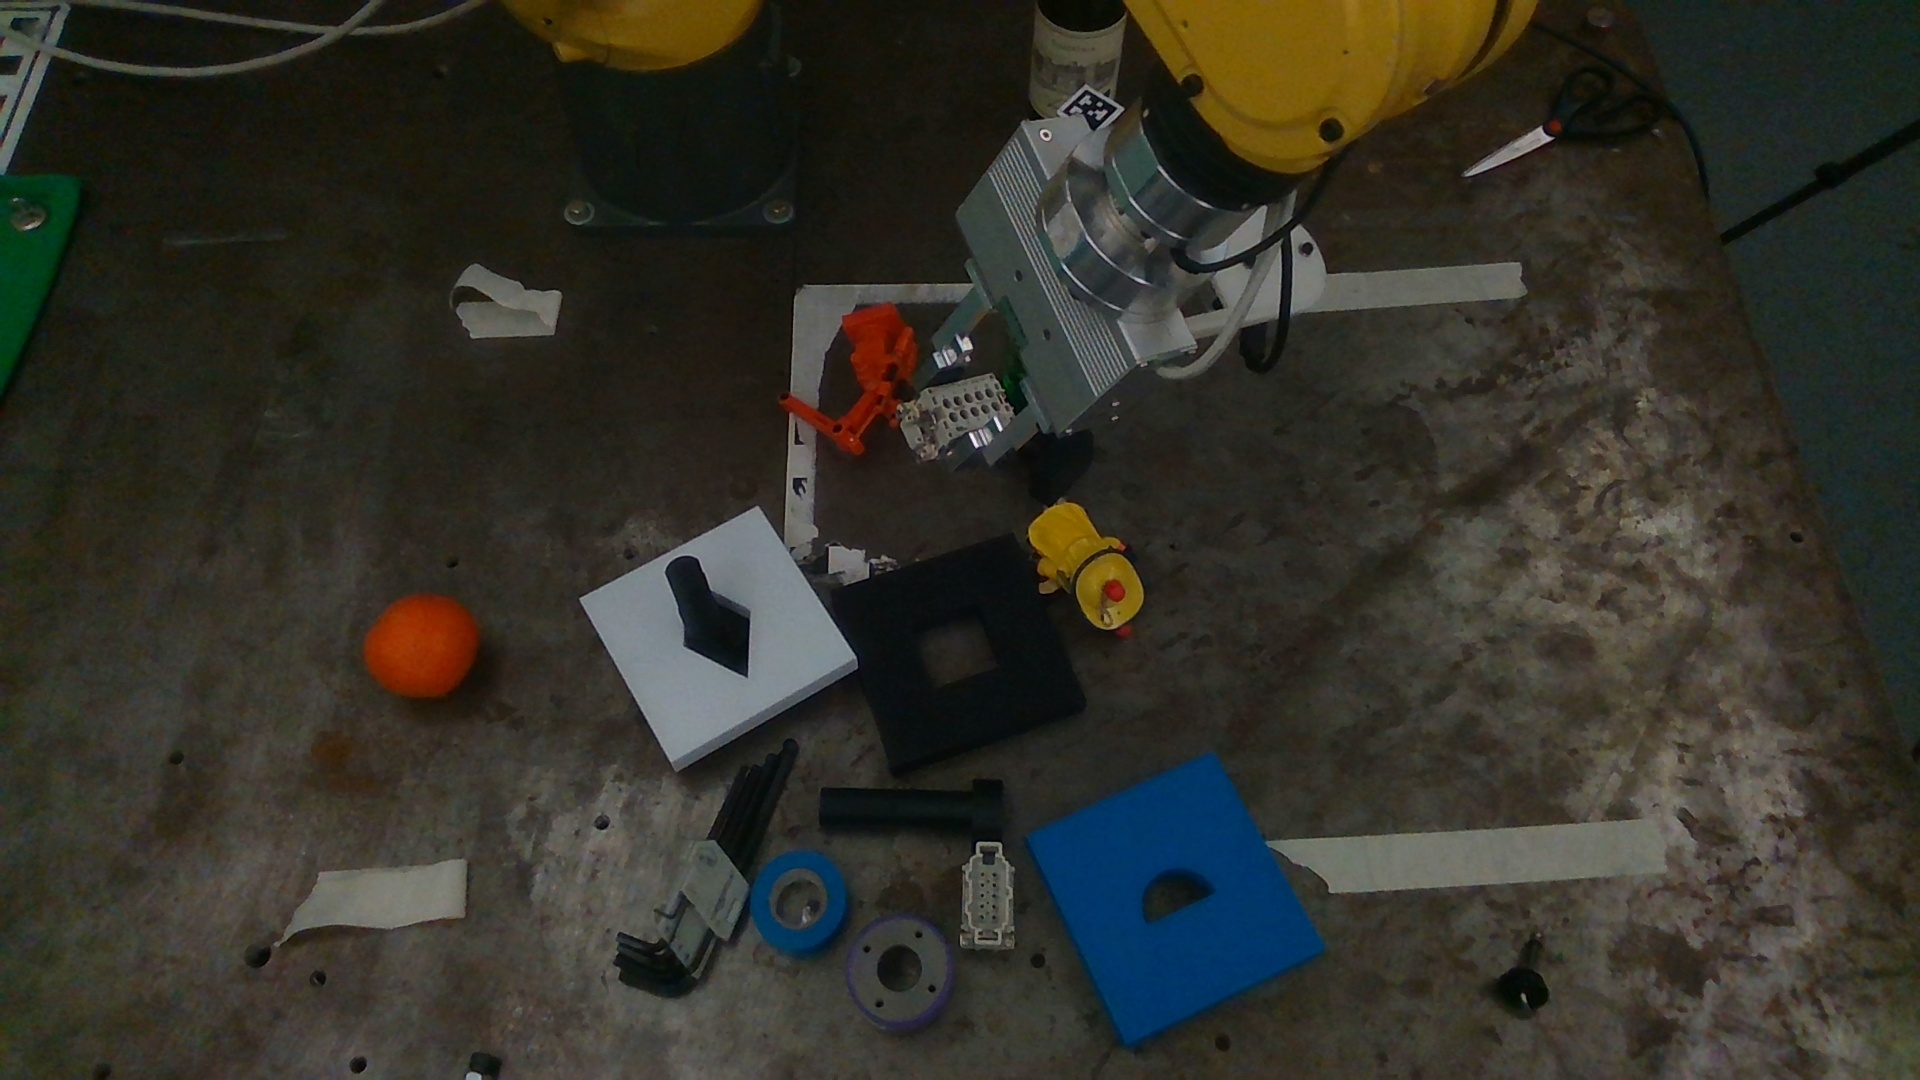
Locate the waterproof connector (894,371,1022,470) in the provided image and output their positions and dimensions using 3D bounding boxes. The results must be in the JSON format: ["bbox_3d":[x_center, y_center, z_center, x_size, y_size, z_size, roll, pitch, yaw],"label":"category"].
[{"bbox_3d":[-0.001,-0.064,0.741,0.069,0.039,0.037,-20,82,-25],"label":"waterproof connector"}]
